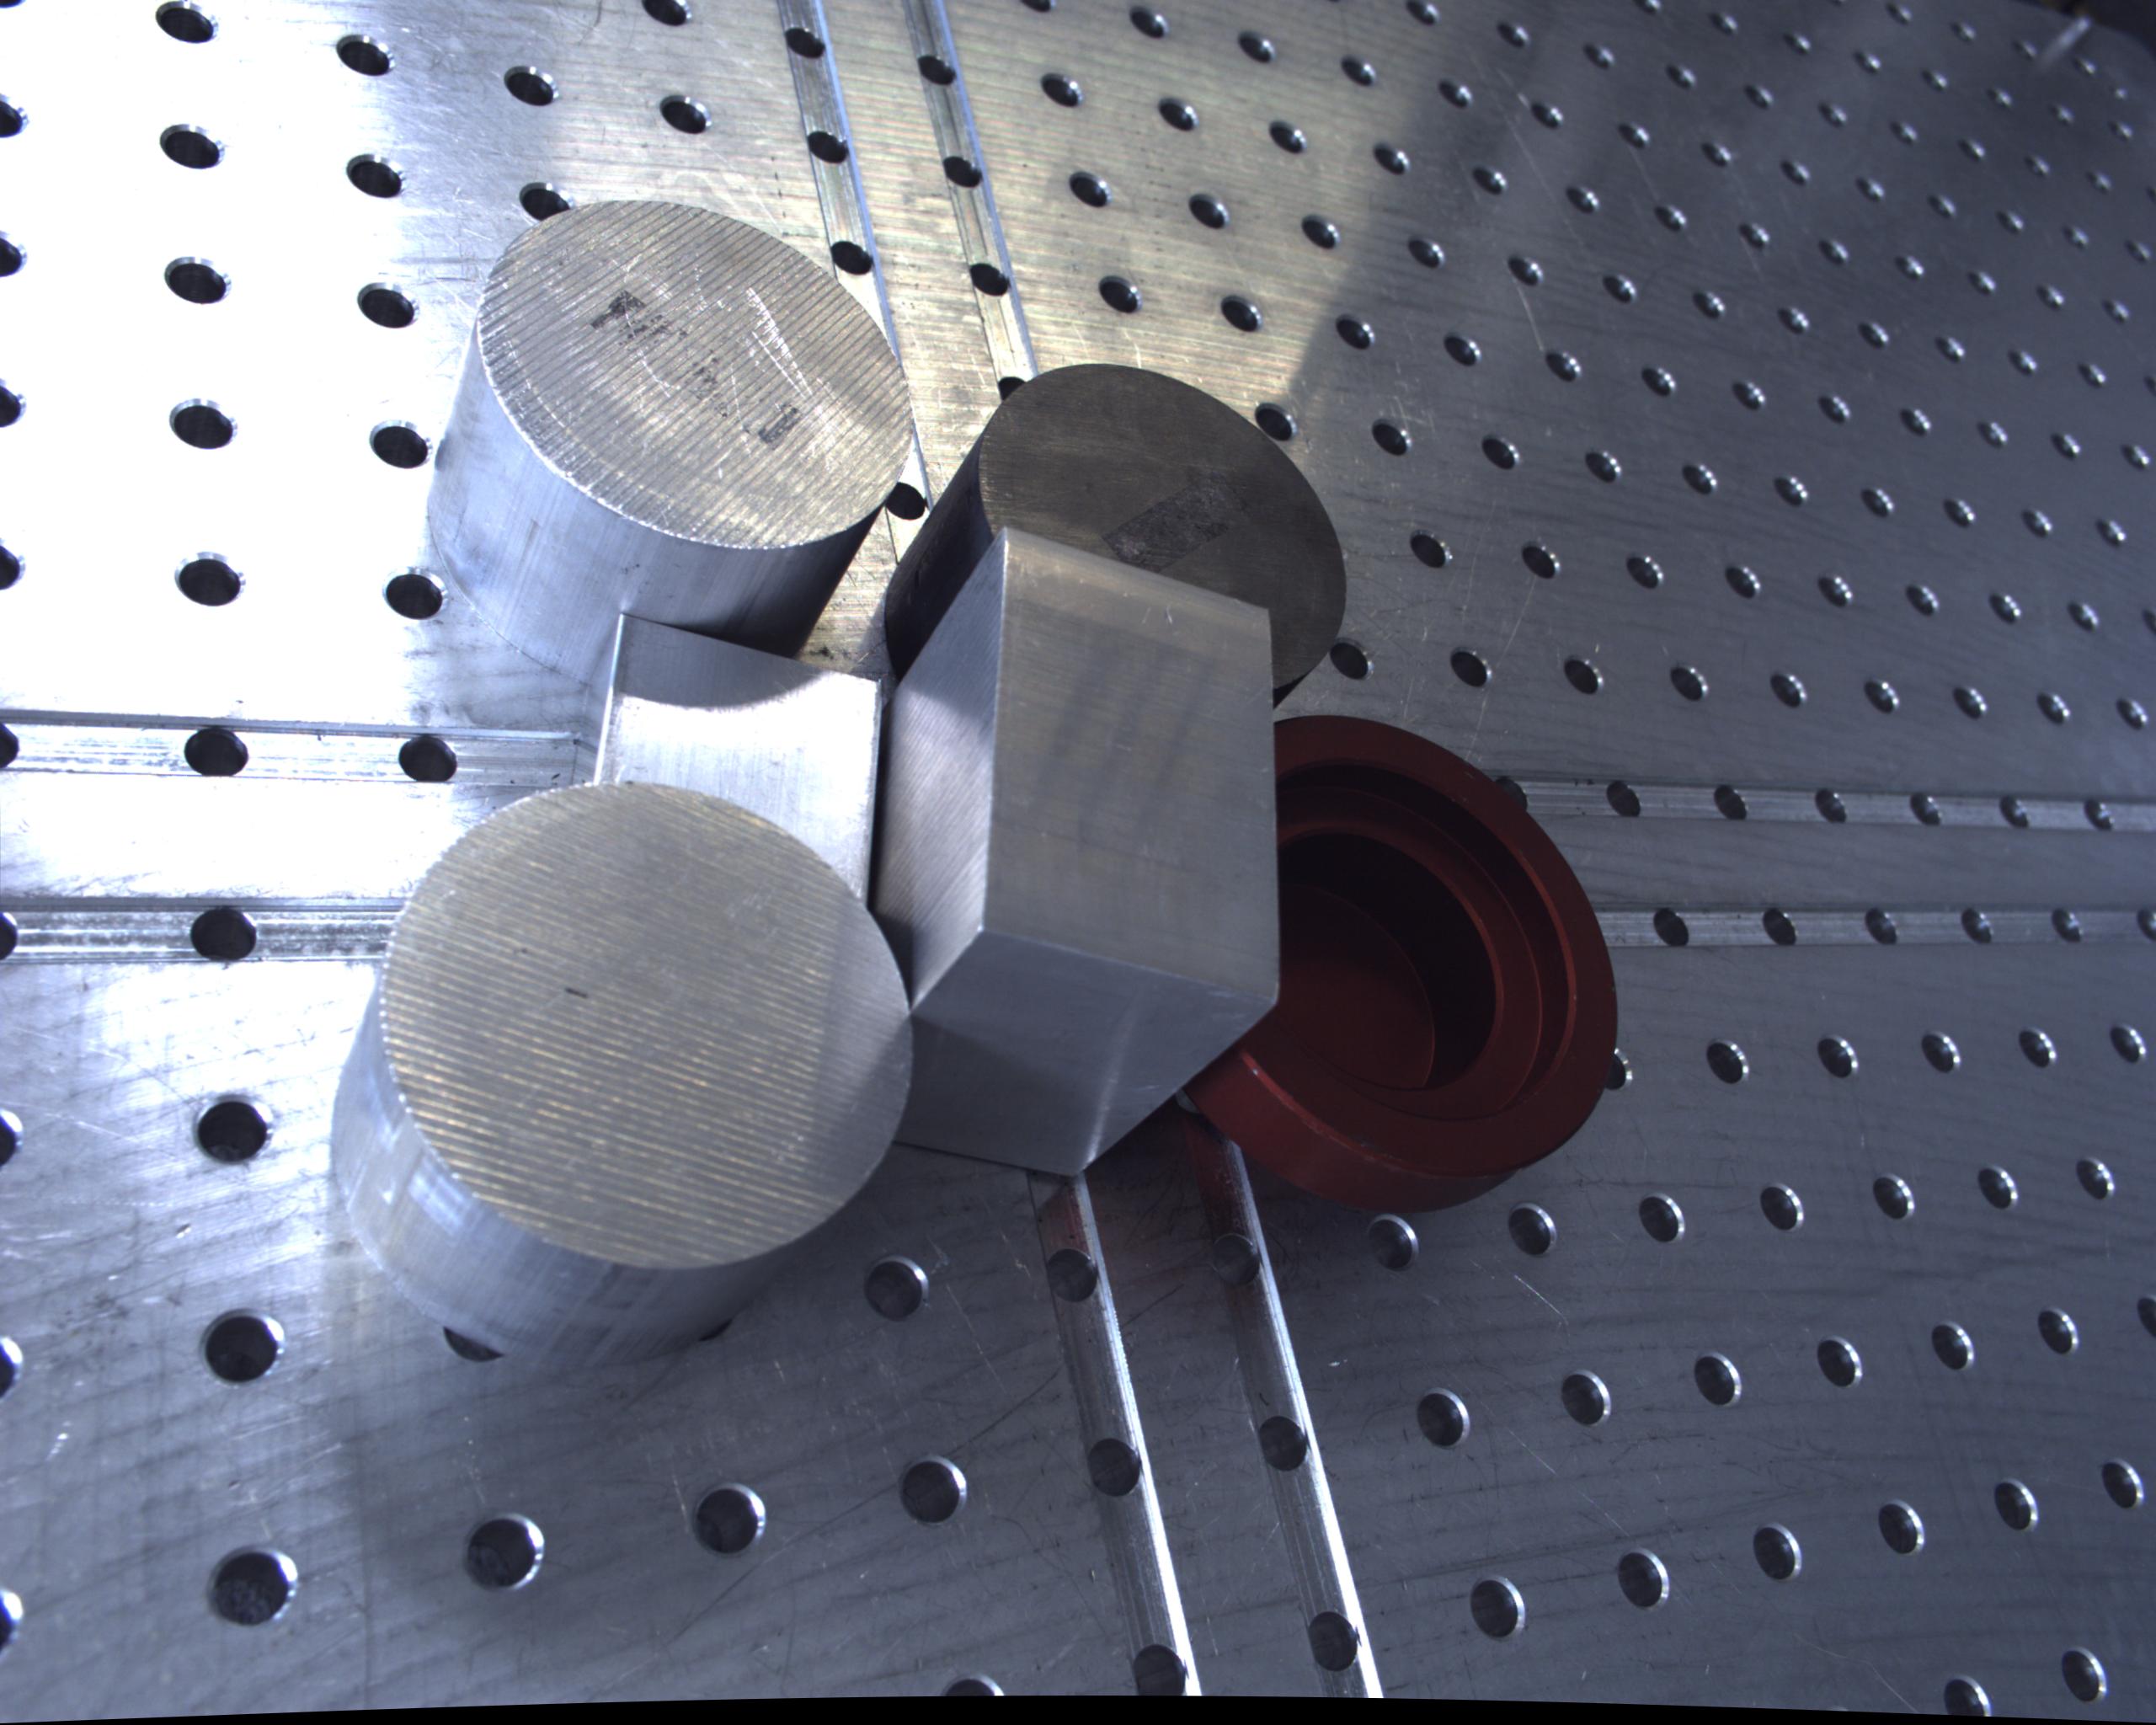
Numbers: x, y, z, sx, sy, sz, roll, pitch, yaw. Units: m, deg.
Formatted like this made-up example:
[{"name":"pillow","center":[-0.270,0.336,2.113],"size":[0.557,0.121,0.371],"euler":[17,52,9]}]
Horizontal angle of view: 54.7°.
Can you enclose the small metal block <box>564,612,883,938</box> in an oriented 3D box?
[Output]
[{"name":"small metal block","center":[-0.065,-0.012,0.380],"size":[0.050,0.025,0.050],"euler":[14,56,-21]}]

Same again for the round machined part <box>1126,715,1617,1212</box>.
[{"name":"round machined part","center":[0.053,0.023,0.411],"size":[0.099,0.042,0.098],"euler":[14,56,-21]}]

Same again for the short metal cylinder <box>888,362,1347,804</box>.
[{"name":"short metal cylinder","center":[0.008,-0.055,0.429],"size":[0.081,0.050,0.080],"euler":[14,56,-21]}]

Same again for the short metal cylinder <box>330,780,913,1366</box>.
[{"name":"short metal cylinder","center":[-0.073,0.034,0.332],"size":[0.081,0.050,0.080],"euler":[14,56,-21]}]

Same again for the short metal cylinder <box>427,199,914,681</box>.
[{"name":"short metal cylinder","center":[-0.078,-0.078,0.397],"size":[0.081,0.050,0.080],"euler":[14,56,-21]}]

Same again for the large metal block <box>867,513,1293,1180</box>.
[{"name":"large metal block","center":[-0.005,0.000,0.366],"size":[0.050,0.080,0.080],"euler":[15,56,-20]}]
